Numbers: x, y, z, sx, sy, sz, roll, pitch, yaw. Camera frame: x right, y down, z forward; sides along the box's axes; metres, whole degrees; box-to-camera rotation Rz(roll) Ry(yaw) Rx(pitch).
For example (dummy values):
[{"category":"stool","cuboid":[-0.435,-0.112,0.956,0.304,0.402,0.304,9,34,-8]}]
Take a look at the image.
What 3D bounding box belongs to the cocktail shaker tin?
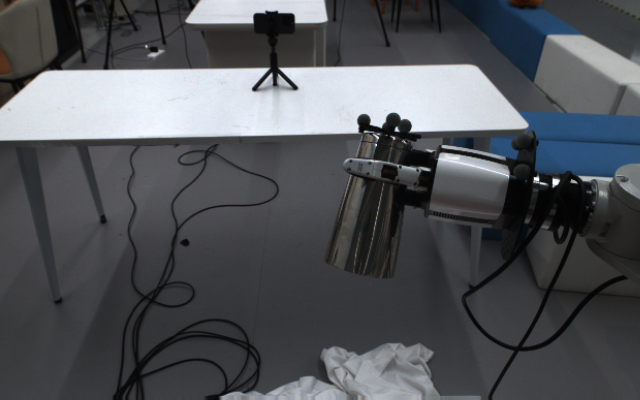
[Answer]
[{"category":"cocktail shaker tin","cuboid":[0.070,0.002,0.623,0.093,0.170,0.093,12,3,-1]}]
